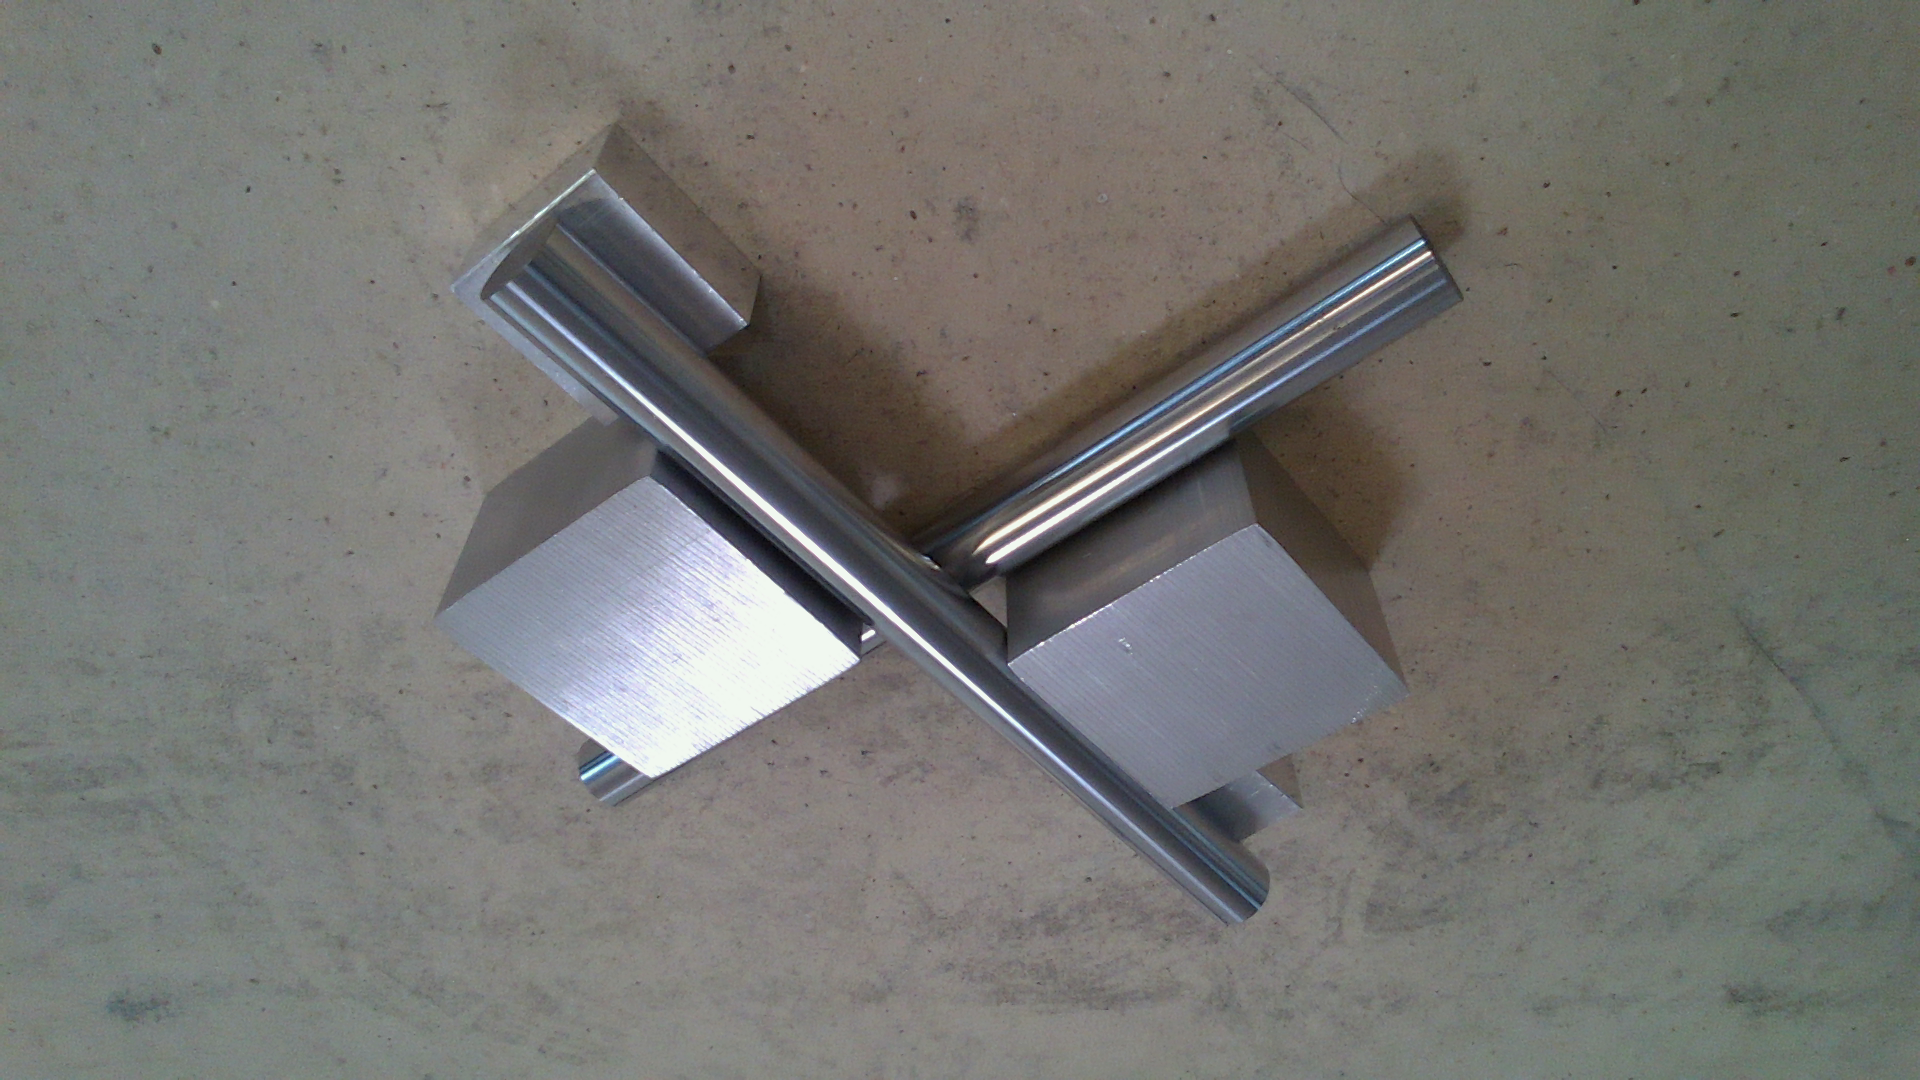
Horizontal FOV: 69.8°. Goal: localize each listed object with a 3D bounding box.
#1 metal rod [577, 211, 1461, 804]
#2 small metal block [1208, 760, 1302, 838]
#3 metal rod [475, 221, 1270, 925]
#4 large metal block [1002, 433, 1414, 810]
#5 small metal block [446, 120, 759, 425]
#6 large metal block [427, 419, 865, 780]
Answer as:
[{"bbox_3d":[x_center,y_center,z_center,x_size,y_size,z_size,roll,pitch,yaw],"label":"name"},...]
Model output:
[{"bbox_3d":[-0.001,0.003,0.394,0.299,0.025,0.025,-32,123,24],"label":"metal rod"},{"bbox_3d":[0.076,0.078,0.458,0.050,0.025,0.050,-36,122,26],"label":"small metal block"},{"bbox_3d":[-0.004,0.027,0.380,0.025,0.025,0.301,-32,123,24],"label":"metal rod"},{"bbox_3d":[0.068,0.021,0.393,0.080,0.050,0.080,-32,123,24],"label":"large metal block"},{"bbox_3d":[-0.086,-0.064,0.337,0.050,0.025,0.050,-30,124,23],"label":"small metal block"},{"bbox_3d":[-0.082,0.010,0.380,0.080,0.050,0.080,-30,124,23],"label":"large metal block"}]
